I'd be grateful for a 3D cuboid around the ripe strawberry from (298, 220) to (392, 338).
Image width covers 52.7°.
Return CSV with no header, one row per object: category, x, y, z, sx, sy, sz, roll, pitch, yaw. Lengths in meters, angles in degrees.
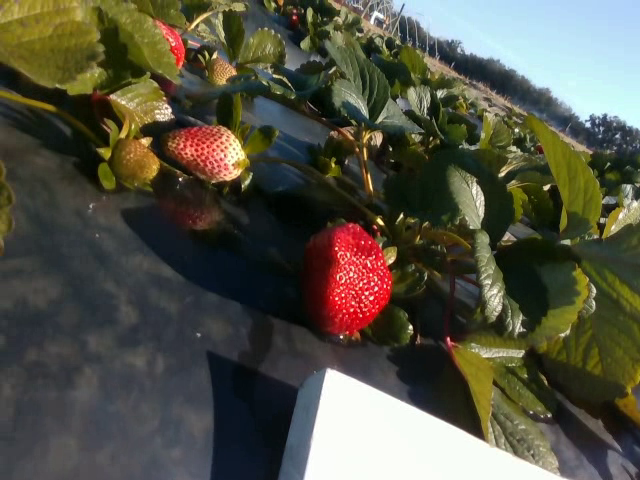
ripe strawberry,0.006,0.015,0.247,0.058,0.066,0.062,-25,-8,-11
